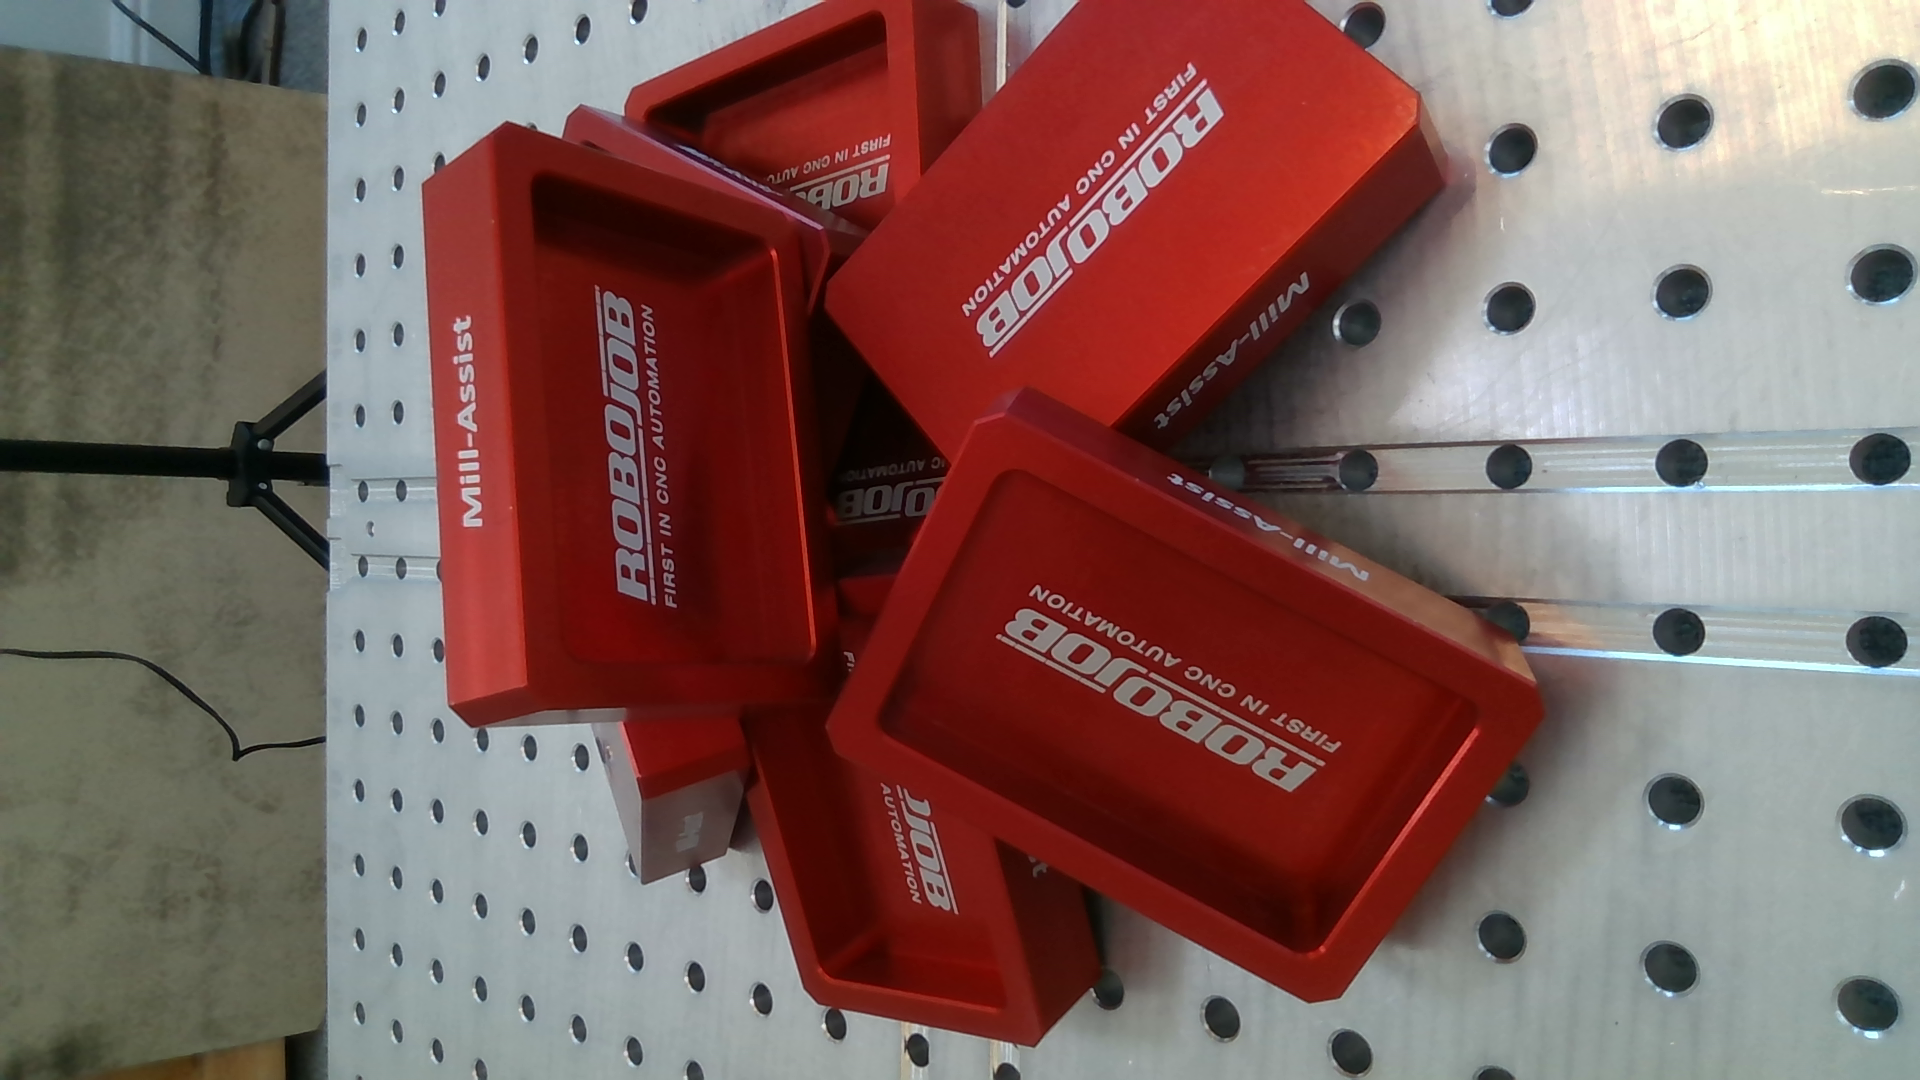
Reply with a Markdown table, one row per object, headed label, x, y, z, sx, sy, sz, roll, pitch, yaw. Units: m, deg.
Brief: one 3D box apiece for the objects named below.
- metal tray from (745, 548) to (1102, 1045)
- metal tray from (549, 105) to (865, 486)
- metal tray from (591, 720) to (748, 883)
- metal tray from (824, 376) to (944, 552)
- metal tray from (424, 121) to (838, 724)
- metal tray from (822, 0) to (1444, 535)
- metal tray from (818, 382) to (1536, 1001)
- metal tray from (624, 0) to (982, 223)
| label | x | y | z | sx | sy | sz | roll | pitch | yaw |
| --- | --- | --- | --- | --- | --- | --- | --- | --- | --- |
| metal tray | -0.019 | 0.069 | 0.383 | 0.090 | 0.030 | 0.130 | -6 | 104 | 40 |
| metal tray | -0.084 | -0.069 | 0.420 | 0.130 | 0.030 | 0.090 | 33 | 111 | 35 |
| metal tray | -0.099 | 0.049 | 0.430 | 0.130 | 0.030 | 0.090 | 117 | 134 | -63 |
| metal tray | -0.011 | -0.016 | 0.399 | 0.130 | 0.030 | 0.090 | -6 | 88 | 38 |
| metal tray | -0.077 | -0.023 | 0.331 | 0.030 | 0.090 | 0.130 | -15 | 76 | 39 |
| metal tray | 0.037 | -0.075 | 0.336 | 0.130 | 0.030 | 0.090 | -45 | 62 | 14 |
| metal tray | 0.045 | 0.034 | 0.309 | 0.130 | 0.030 | 0.090 | 28 | 111 | 2 |
| metal tray | -0.052 | -0.111 | 0.433 | 0.130 | 0.030 | 0.090 | -6 | 87 | 39 |
